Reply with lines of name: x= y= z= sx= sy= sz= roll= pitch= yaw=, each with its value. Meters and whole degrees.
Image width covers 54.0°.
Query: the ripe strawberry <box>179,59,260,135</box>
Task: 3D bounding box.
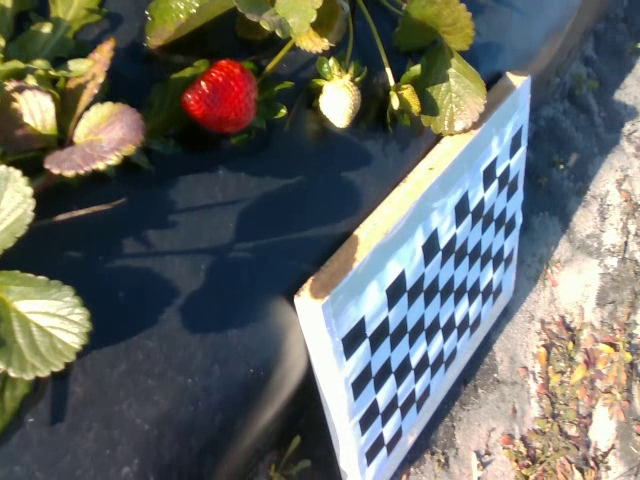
ripe strawberry: x=-0.049 y=-0.068 z=0.284 sx=0.036 sy=0.044 sz=0.053 roll=20 pitch=25 yaw=25
